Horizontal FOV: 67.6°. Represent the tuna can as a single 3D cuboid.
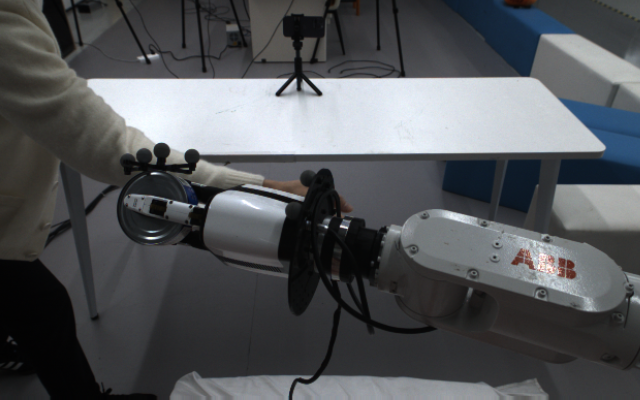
[{"bbox_3d":[-0.180,0.012,0.556,0.085,0.085,0.034,10,-6,11],"label":"tuna can"}]
